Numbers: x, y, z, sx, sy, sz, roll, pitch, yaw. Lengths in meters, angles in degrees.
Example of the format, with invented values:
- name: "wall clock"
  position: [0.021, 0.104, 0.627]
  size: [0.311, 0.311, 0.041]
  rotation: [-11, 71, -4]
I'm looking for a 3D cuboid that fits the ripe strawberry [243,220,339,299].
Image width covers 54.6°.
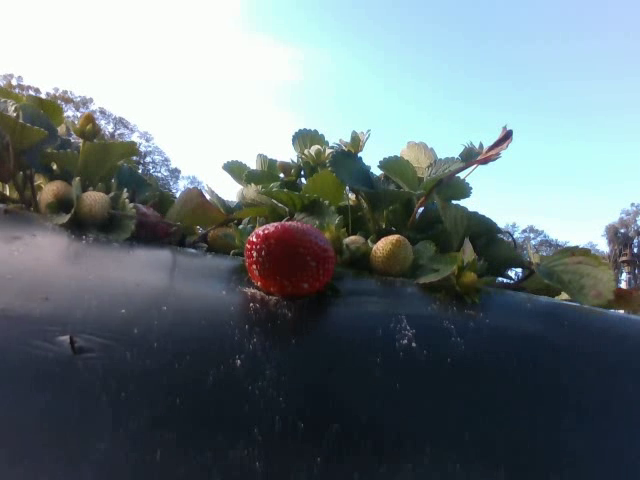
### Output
- name: "ripe strawberry"
  position: [-0.018, 0.003, 0.335]
  size: [0.052, 0.045, 0.068]
  rotation: [11, -17, 2]
